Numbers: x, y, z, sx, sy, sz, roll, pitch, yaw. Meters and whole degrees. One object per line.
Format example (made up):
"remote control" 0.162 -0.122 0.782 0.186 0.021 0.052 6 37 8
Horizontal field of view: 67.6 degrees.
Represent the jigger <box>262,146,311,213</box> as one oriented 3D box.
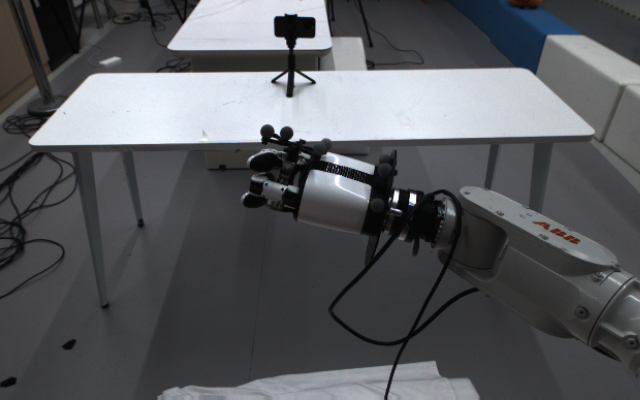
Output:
"jigger" -0.043 -0.024 0.643 0.043 0.071 0.043 15 17 -5
